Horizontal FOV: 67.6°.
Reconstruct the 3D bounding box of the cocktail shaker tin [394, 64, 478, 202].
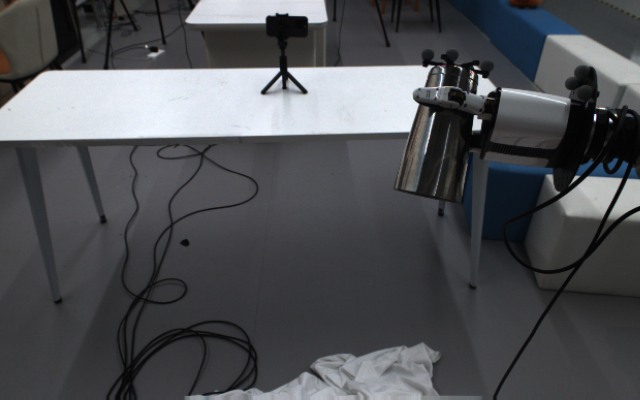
[{"bbox_3d":[0.166,-0.092,0.656,0.093,0.170,0.093,13,1,0],"label":"cocktail shaker tin"}]
